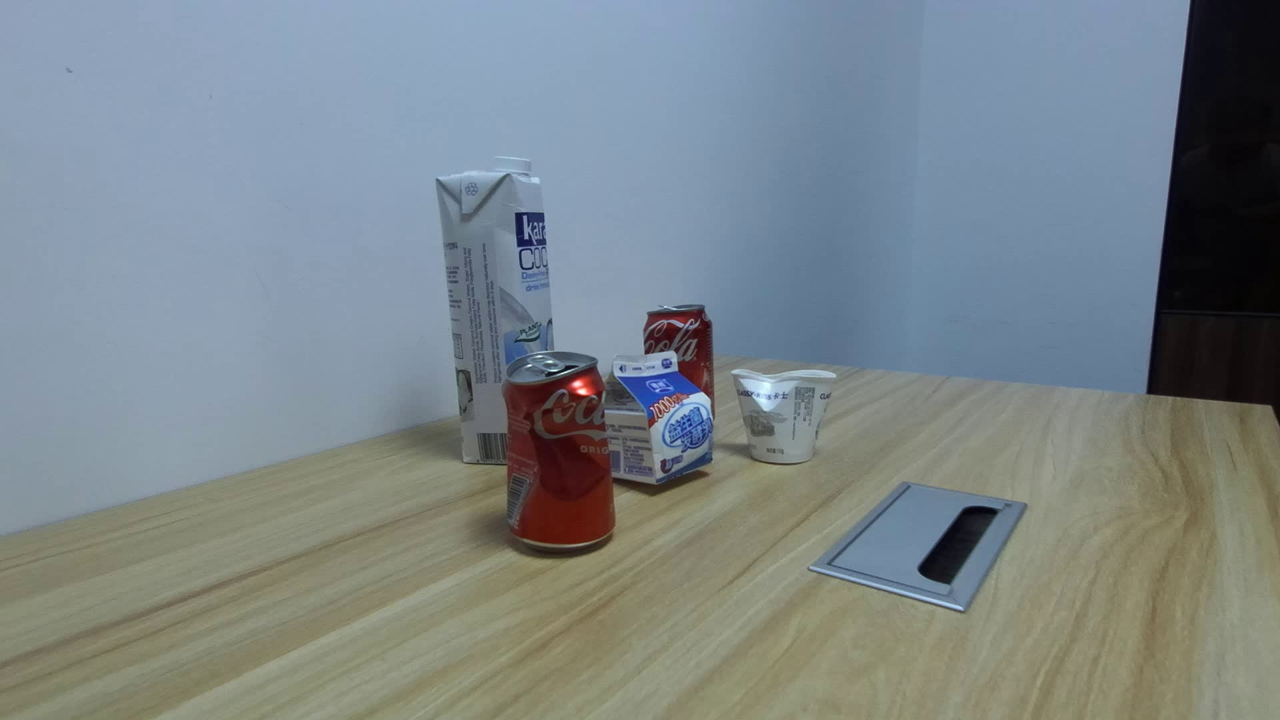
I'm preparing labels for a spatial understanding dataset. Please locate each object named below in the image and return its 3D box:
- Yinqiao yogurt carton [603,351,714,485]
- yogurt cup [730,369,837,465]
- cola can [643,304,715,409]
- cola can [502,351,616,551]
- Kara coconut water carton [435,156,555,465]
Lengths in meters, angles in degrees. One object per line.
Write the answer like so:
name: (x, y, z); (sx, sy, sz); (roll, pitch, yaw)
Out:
Yinqiao yogurt carton: (0.010, 0.040, 0.534); (0.075, 0.097, 0.080); (-12, 8, -44)
yogurt cup: (0.115, 0.043, 0.573); (0.075, 0.071, 0.053); (-3, 11, -8)
cola can: (0.037, 0.008, 0.660); (0.065, 0.117, 0.072); (8, 13, 37)
cola can: (-0.049, 0.054, 0.426); (0.066, 0.112, 0.069); (-4, 10, -9)
Kara coconut water carton: (-0.114, -0.040, 0.585); (0.075, 0.245, 0.077); (1, 12, 13)
